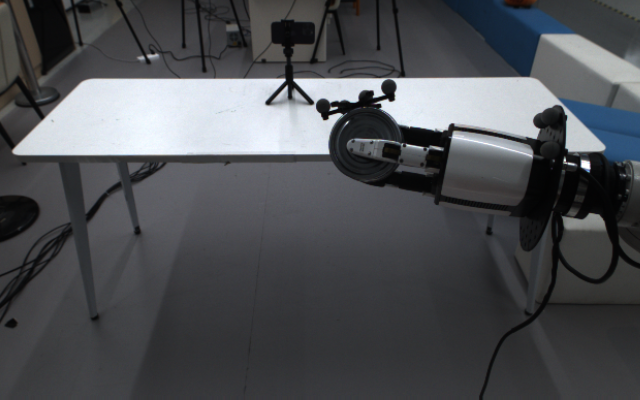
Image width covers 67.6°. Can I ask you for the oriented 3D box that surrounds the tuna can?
[{"bbox_3d":[0.056,-0.066,0.563,0.085,0.085,0.034,12,3,14],"label":"tuna can"}]
